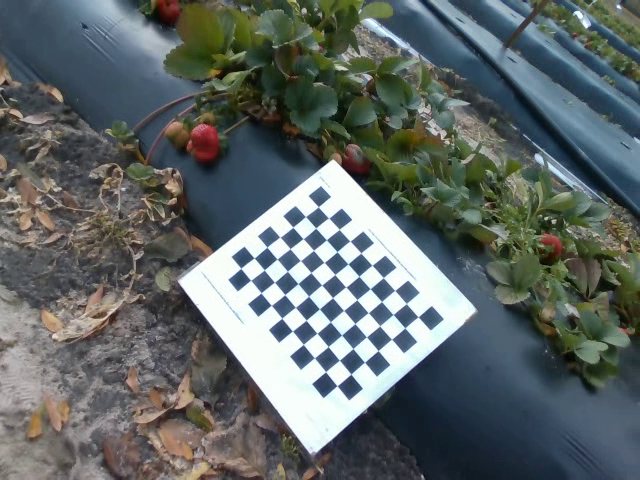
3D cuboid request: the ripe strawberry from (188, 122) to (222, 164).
[{"bbox_3d":[-0.193,-0.166,0.919,0.066,0.075,0.053,29,-14,12],"label":"ripe strawberry"}]
